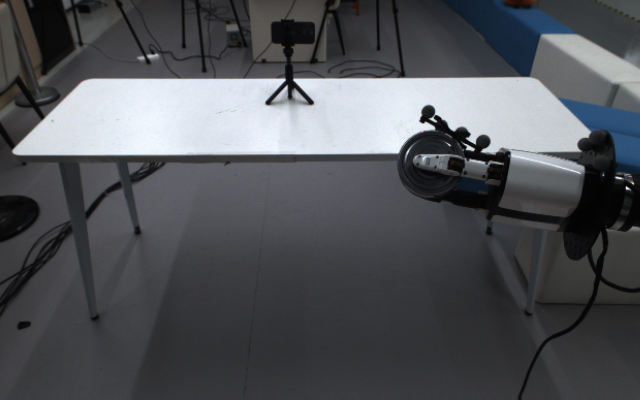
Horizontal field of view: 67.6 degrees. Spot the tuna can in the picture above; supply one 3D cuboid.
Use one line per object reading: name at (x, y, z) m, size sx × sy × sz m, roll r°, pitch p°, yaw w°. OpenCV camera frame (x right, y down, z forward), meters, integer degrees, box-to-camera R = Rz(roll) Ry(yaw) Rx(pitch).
tuna can at (0.145, -0.048, 0.626) m, size 0.085 × 0.085 × 0.034 m, roll 13°, pitch -4°, yaw 15°
